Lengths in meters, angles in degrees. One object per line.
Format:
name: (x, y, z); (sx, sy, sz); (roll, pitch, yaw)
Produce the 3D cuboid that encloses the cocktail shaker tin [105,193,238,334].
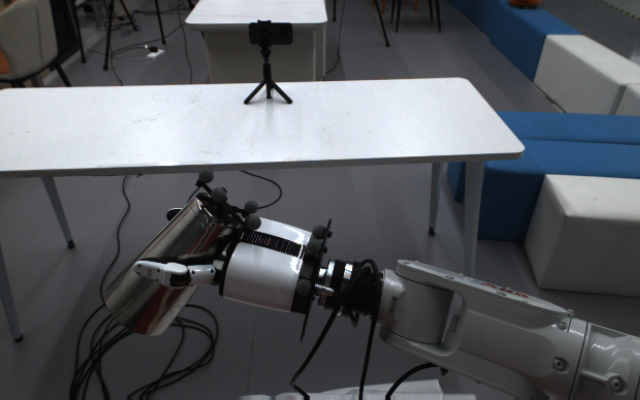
cocktail shaker tin: (-0.175, 0.071, 0.599); (0.093, 0.170, 0.093); (41, 13, -12)
